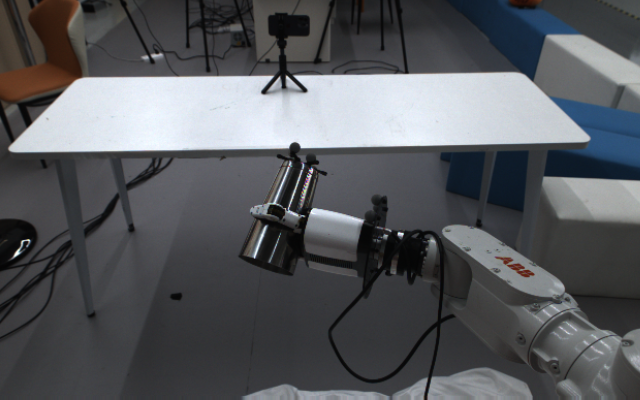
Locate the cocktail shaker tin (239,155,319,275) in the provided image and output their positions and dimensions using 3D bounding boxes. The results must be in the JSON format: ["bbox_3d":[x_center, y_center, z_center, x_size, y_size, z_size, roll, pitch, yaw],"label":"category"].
[{"bbox_3d":[-0.060,0.027,0.778,0.093,0.093,0.170,14,73,17],"label":"cocktail shaker tin"}]
